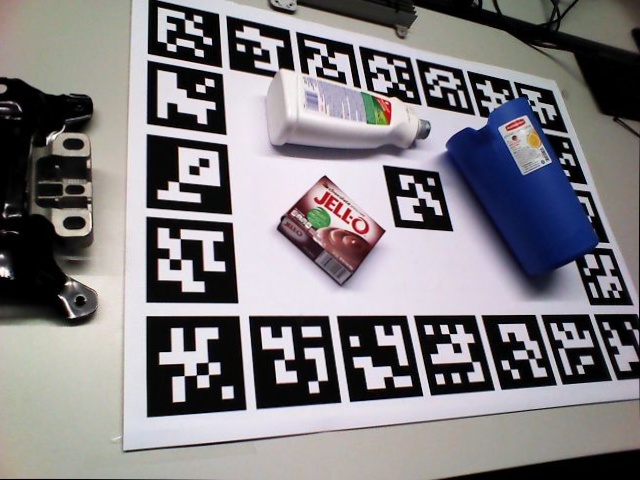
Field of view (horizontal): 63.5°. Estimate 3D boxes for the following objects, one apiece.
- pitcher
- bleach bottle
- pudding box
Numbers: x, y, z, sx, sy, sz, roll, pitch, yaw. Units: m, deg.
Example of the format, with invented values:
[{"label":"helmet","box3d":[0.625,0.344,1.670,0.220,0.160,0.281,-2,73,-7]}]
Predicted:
[{"label":"pitcher","box3d":[0.312,-0.058,0.778,0.242,0.134,0.188,64,24,7]},{"label":"bleach bottle","box3d":[0.057,-0.167,0.730,0.250,0.068,0.102,2,70,-26]},{"label":"pudding box","box3d":[0.017,-0.010,0.646,0.114,0.039,0.089,45,51,-1]}]
